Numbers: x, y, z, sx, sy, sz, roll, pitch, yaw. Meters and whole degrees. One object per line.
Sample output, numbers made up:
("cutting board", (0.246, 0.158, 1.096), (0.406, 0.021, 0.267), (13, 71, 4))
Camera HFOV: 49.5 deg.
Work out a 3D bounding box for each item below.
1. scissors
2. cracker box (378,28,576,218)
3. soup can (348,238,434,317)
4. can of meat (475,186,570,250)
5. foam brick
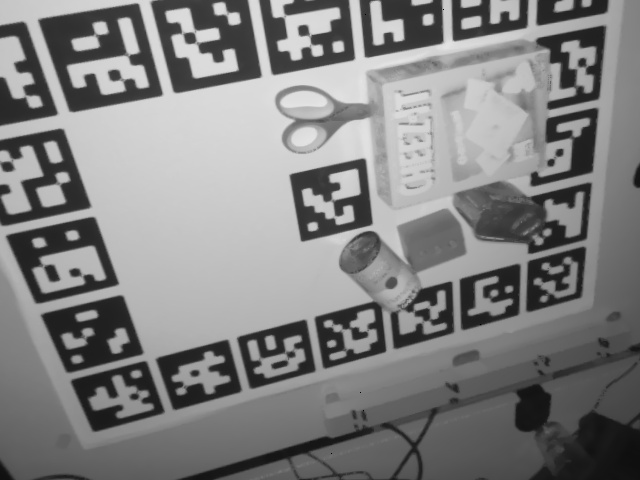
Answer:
("scissors", (0.068, -0.156, 0.815), (0.204, 0.016, 0.087), (-17, 118, -6))
("cracker box", (0.192, -0.137, 0.821), (0.215, 0.072, 0.163), (-19, 120, -9))
("soup can", (0.095, 0.052, 0.919), (0.067, 0.068, 0.103), (-46, 123, 11))
("can of meat", (0.262, -0.031, 0.900), (0.103, 0.084, 0.057), (0, 116, -13))
("foam brick", (0.170, 0.010, 0.919), (0.078, 0.051, 0.052), (-22, 119, -2))
